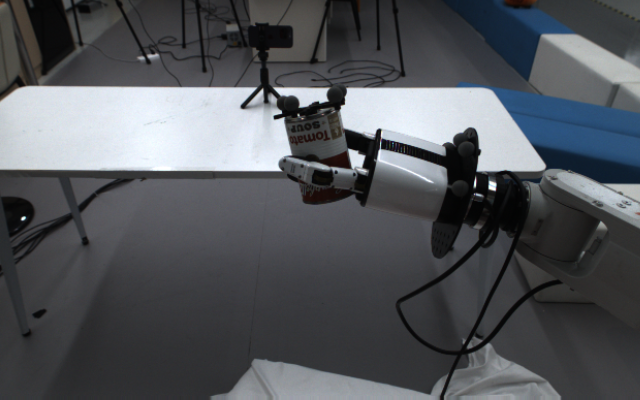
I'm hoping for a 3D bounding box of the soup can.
[{"bbox_3d":[0.002,-0.054,0.574,0.067,0.101,0.067,-12,17,4],"label":"soup can"}]
